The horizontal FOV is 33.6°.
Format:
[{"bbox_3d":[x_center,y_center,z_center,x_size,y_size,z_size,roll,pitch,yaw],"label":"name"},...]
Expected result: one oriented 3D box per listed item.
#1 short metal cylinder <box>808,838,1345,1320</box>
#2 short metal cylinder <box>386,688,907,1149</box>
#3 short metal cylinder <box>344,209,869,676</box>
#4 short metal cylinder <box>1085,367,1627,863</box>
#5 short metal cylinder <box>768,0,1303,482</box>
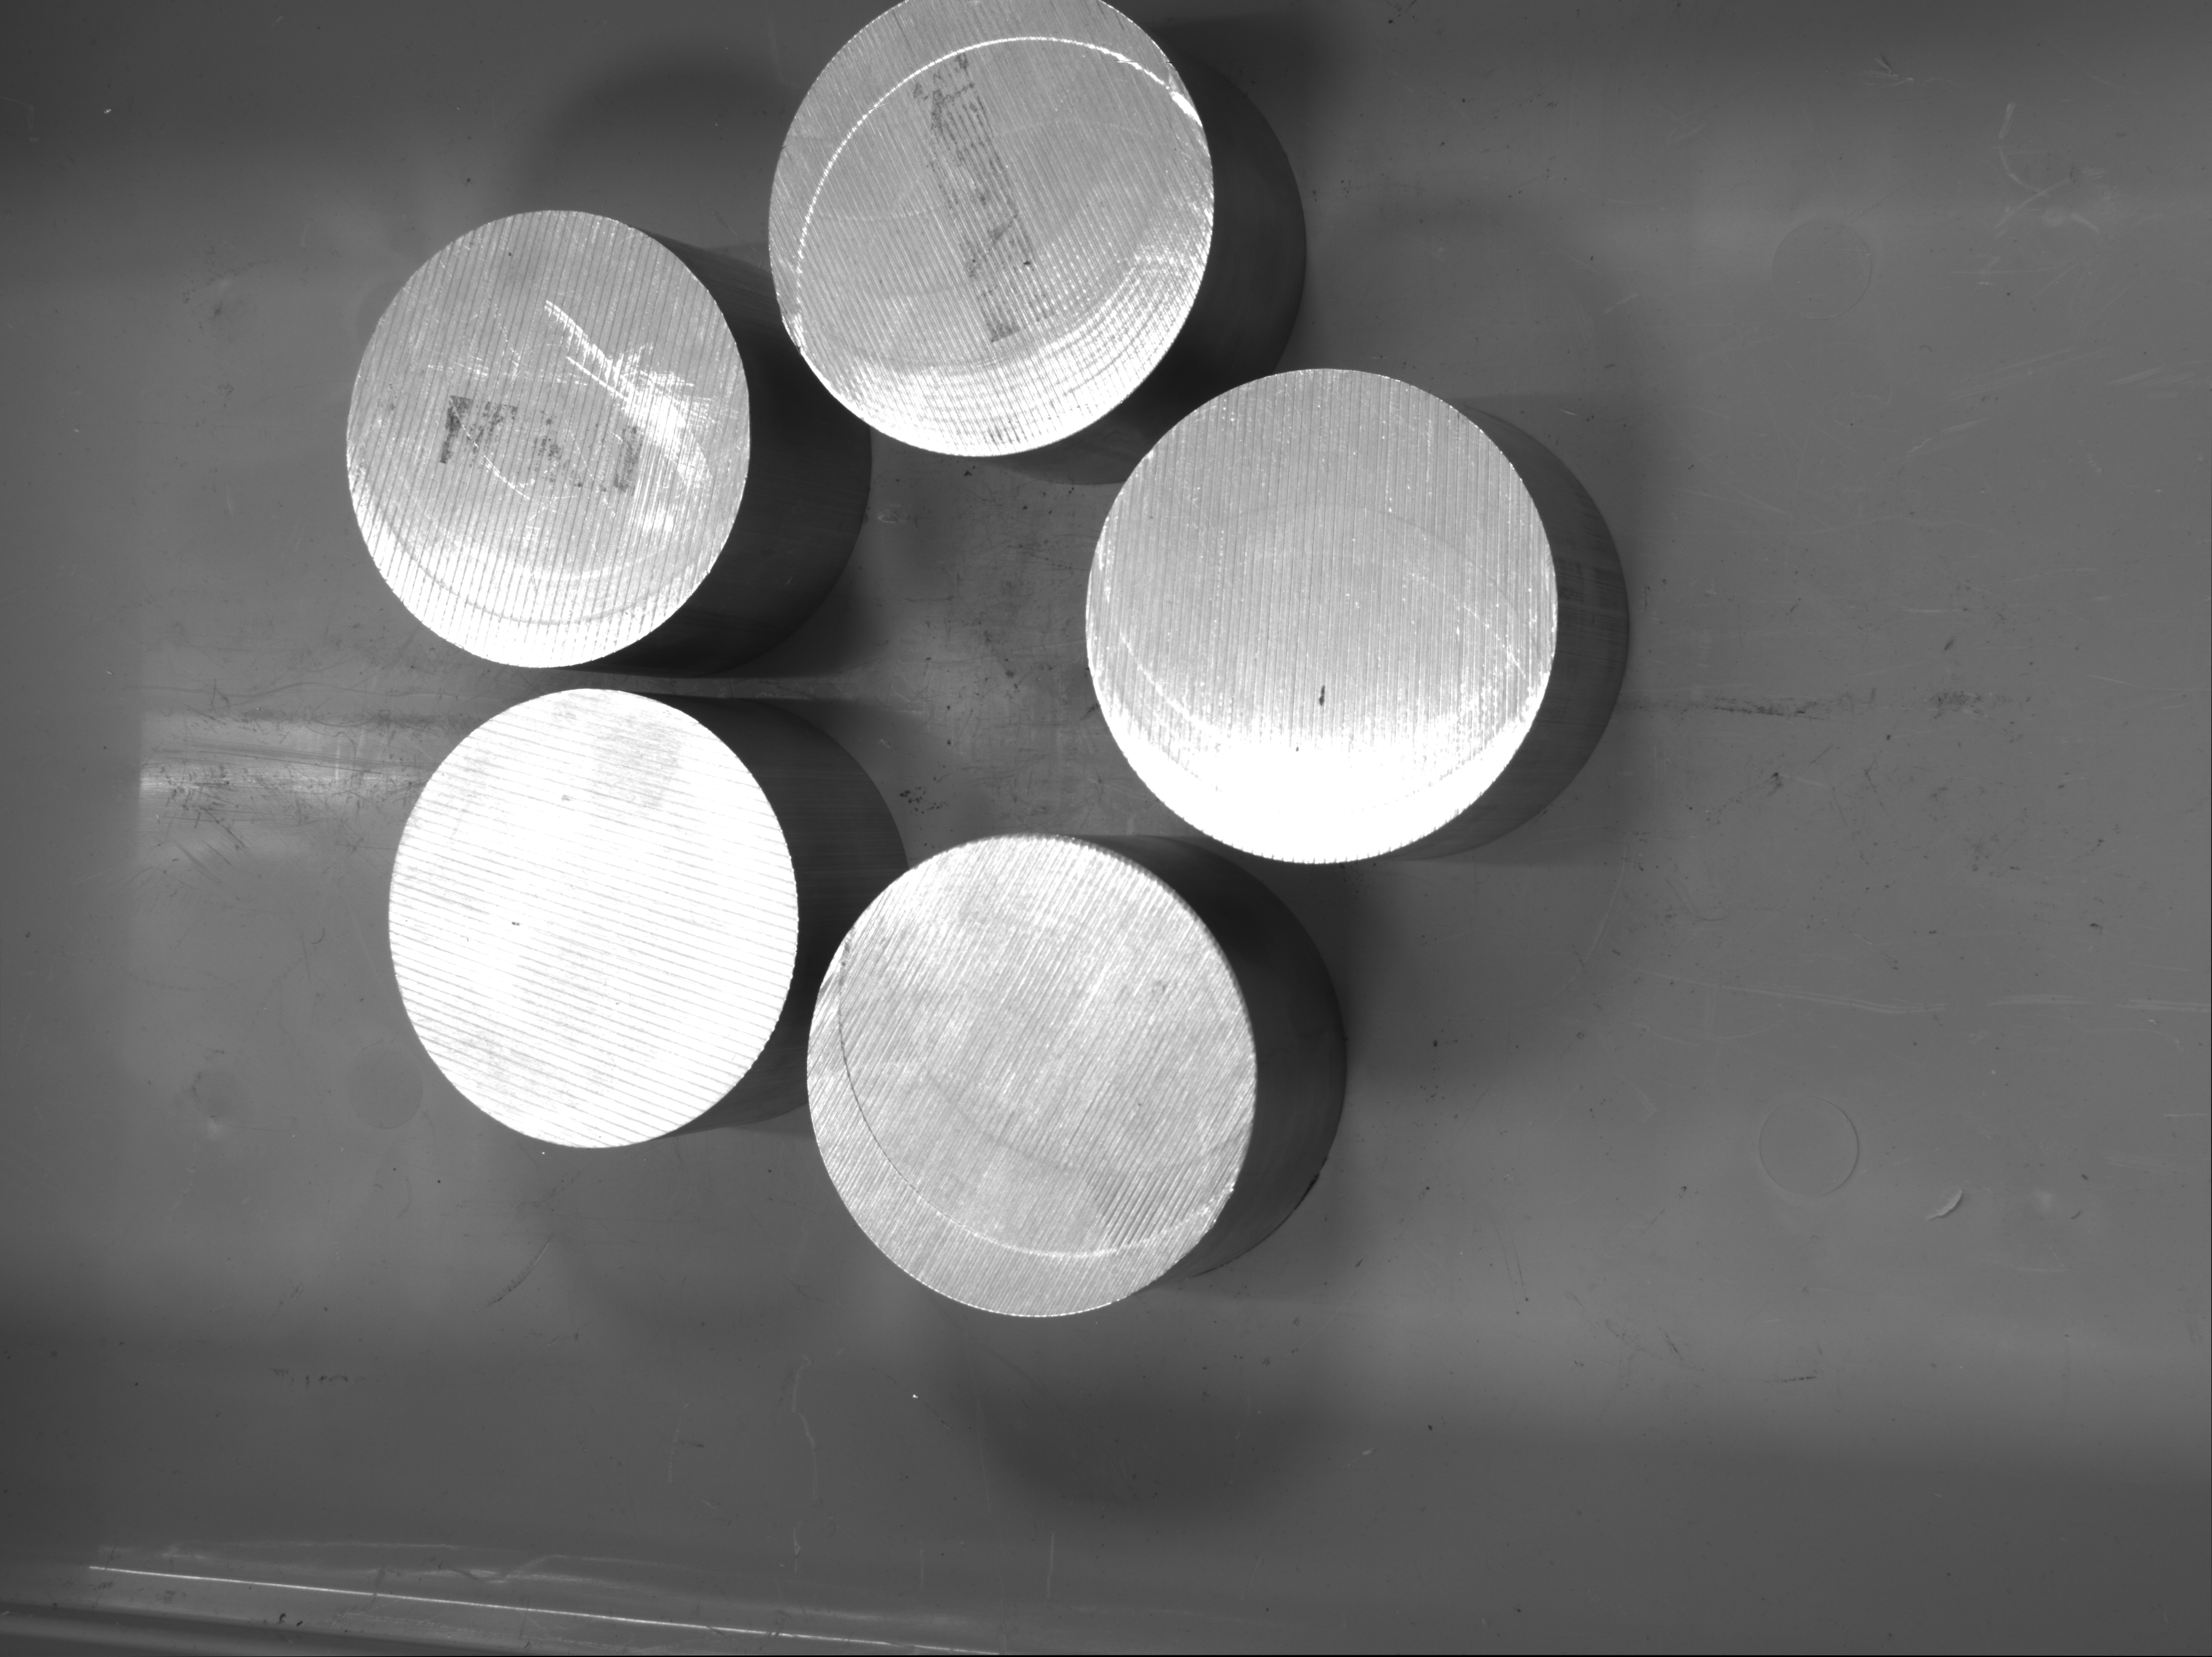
[{"bbox_3d":[-0.004,0.042,0.633,0.080,0.050,0.080,0,90,20],"label":"short metal cylinder"},{"bbox_3d":[-0.082,0.016,0.661,0.080,0.050,0.080,0,90,20],"label":"short metal cylinder"},{"bbox_3d":[-0.090,-0.068,0.664,0.080,0.050,0.080,0,90,20],"label":"short metal cylinder"},{"bbox_3d":[0.043,-0.034,0.616,0.080,0.050,0.080,0,90,20],"label":"short metal cylinder"},{"bbox_3d":[-0.012,-0.102,0.636,0.080,0.050,0.080,0,90,20],"label":"short metal cylinder"}]
